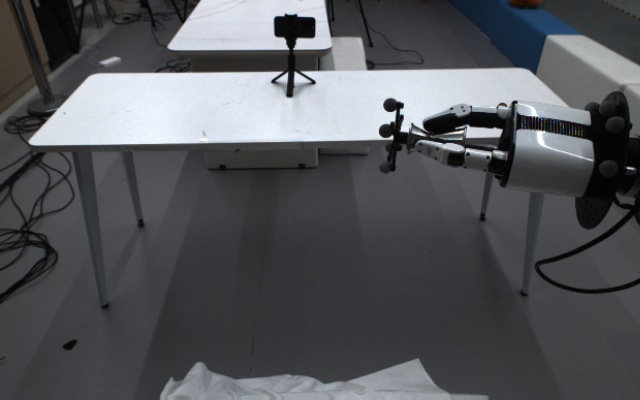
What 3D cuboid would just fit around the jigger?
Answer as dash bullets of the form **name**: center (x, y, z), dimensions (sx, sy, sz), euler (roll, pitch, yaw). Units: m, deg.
- **jigger**: center (0.152, -0.076, 0.608), dimensions (0.071, 0.043, 0.043), euler (8, 35, 16)
